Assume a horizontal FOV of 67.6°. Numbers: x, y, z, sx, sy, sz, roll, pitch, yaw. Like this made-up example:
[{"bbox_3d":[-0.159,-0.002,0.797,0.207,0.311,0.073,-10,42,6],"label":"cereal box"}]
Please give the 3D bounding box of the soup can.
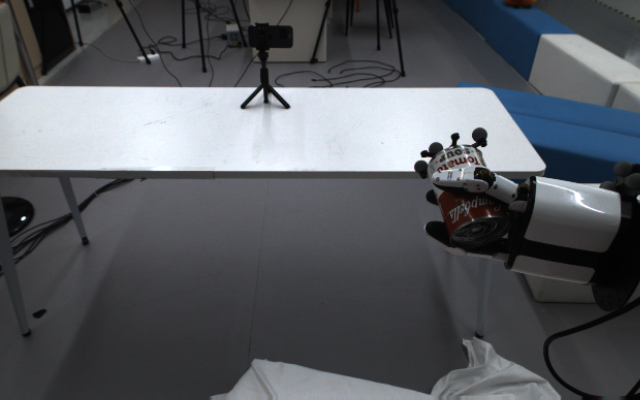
[{"bbox_3d":[0.171,-0.006,0.560,0.067,0.067,0.101,-5,57,-10],"label":"soup can"}]
